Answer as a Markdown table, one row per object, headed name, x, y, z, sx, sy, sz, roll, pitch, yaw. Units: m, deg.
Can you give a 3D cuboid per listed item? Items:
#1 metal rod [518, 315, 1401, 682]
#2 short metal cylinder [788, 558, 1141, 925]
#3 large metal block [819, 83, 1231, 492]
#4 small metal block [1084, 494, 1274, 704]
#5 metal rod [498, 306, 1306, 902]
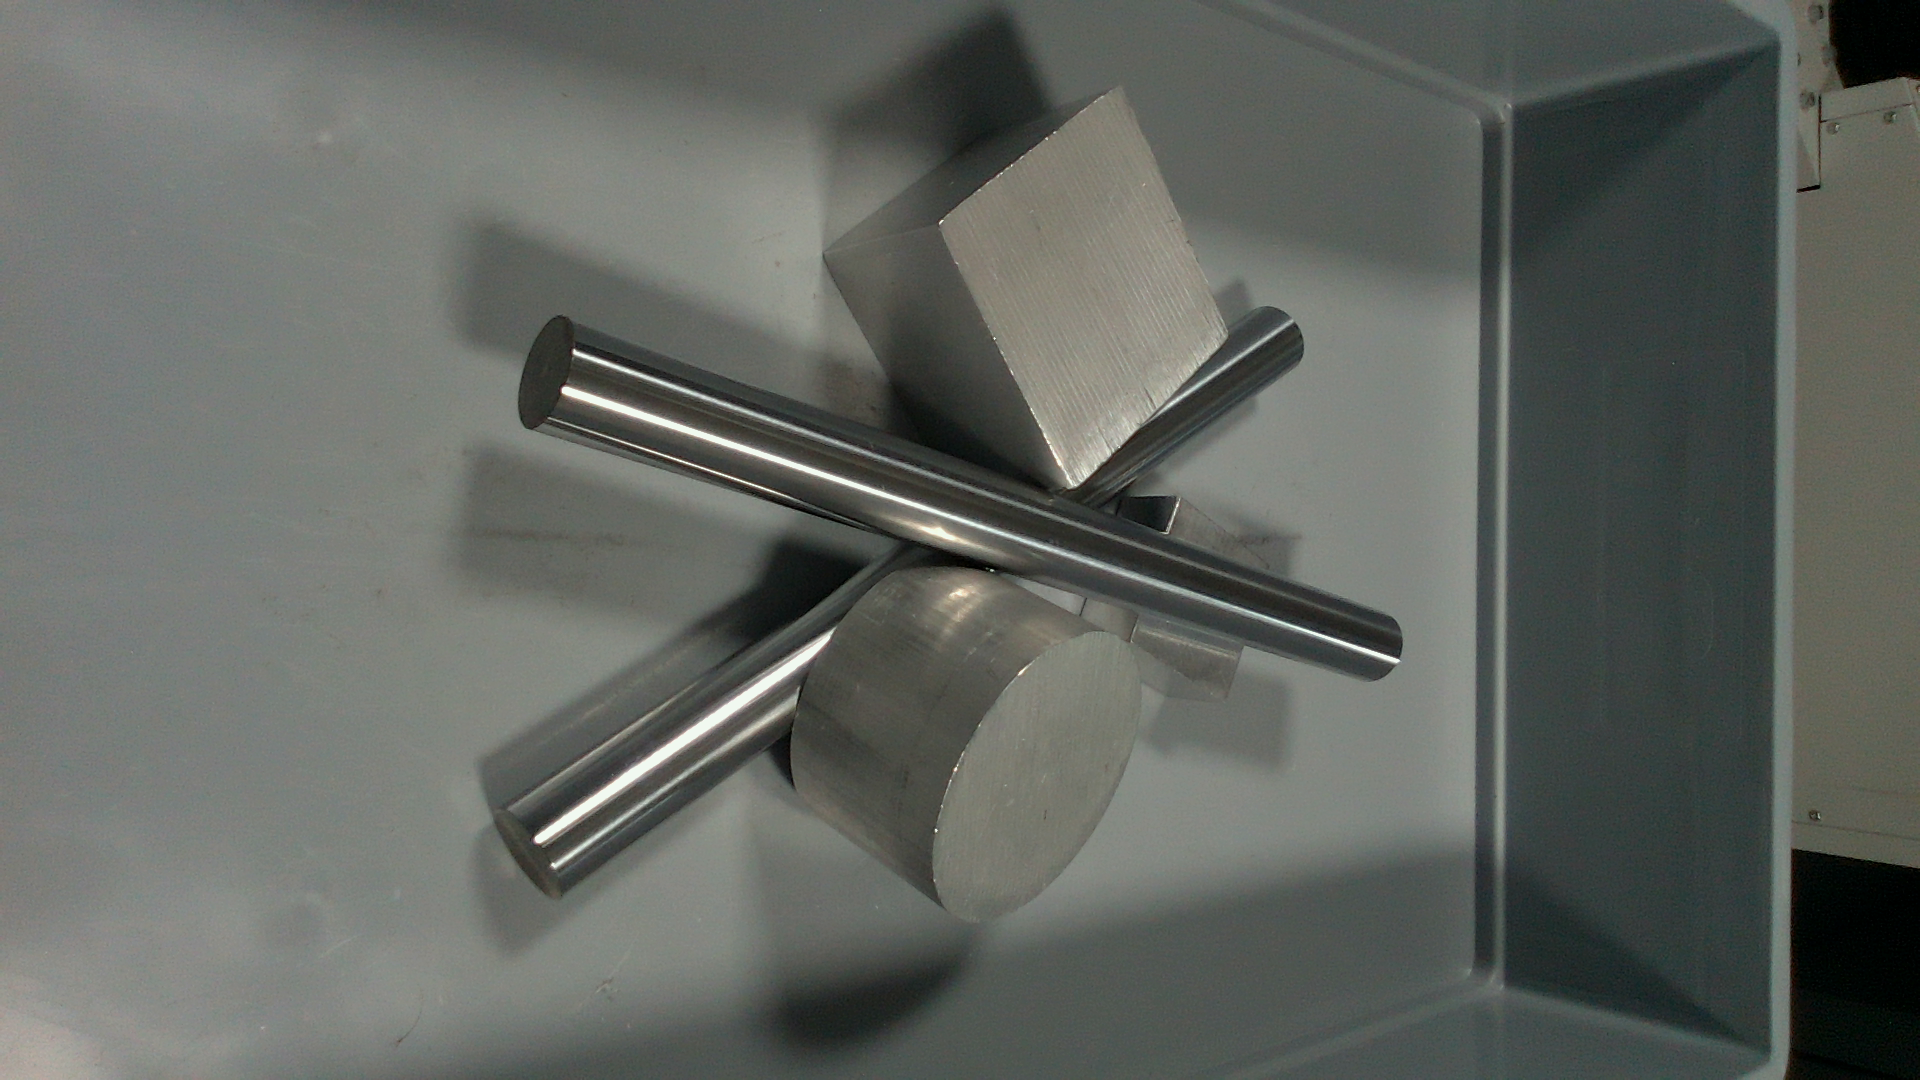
| name | x | y | z | sx | sy | sz | roll | pitch | yaw |
| --- | --- | --- | --- | --- | --- | --- | --- | --- | --- |
| metal rod | 0.027 | 0.001 | 0.377 | 0.301 | 0.025 | 0.025 | 17 | 79 | -38 |
| short metal cylinder | 0.003 | 0.050 | 0.355 | 0.080 | 0.050 | 0.080 | -30 | 133 | -38 |
| large metal block | 0.021 | -0.069 | 0.388 | 0.080 | 0.050 | 0.080 | -43 | 116 | -31 |
| small metal block | 0.070 | 0.019 | 0.443 | 0.050 | 0.025 | 0.050 | 33 | 70 | -35 |
| metal rod | 0.007 | 0.001 | 0.392 | 0.301 | 0.025 | 0.025 | -34 | 111 | -35 |
